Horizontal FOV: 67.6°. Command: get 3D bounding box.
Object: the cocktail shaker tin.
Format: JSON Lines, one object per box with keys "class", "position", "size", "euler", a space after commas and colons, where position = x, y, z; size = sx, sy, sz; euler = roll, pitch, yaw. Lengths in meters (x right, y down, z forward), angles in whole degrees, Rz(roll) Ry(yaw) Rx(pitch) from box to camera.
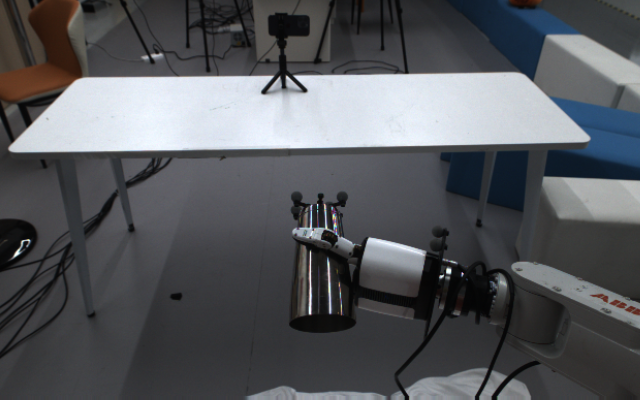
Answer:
{"class": "cocktail shaker tin", "position": [0.000, 0.094, 0.693], "size": [0.093, 0.093, 0.170], "euler": [0, 59, -3]}
